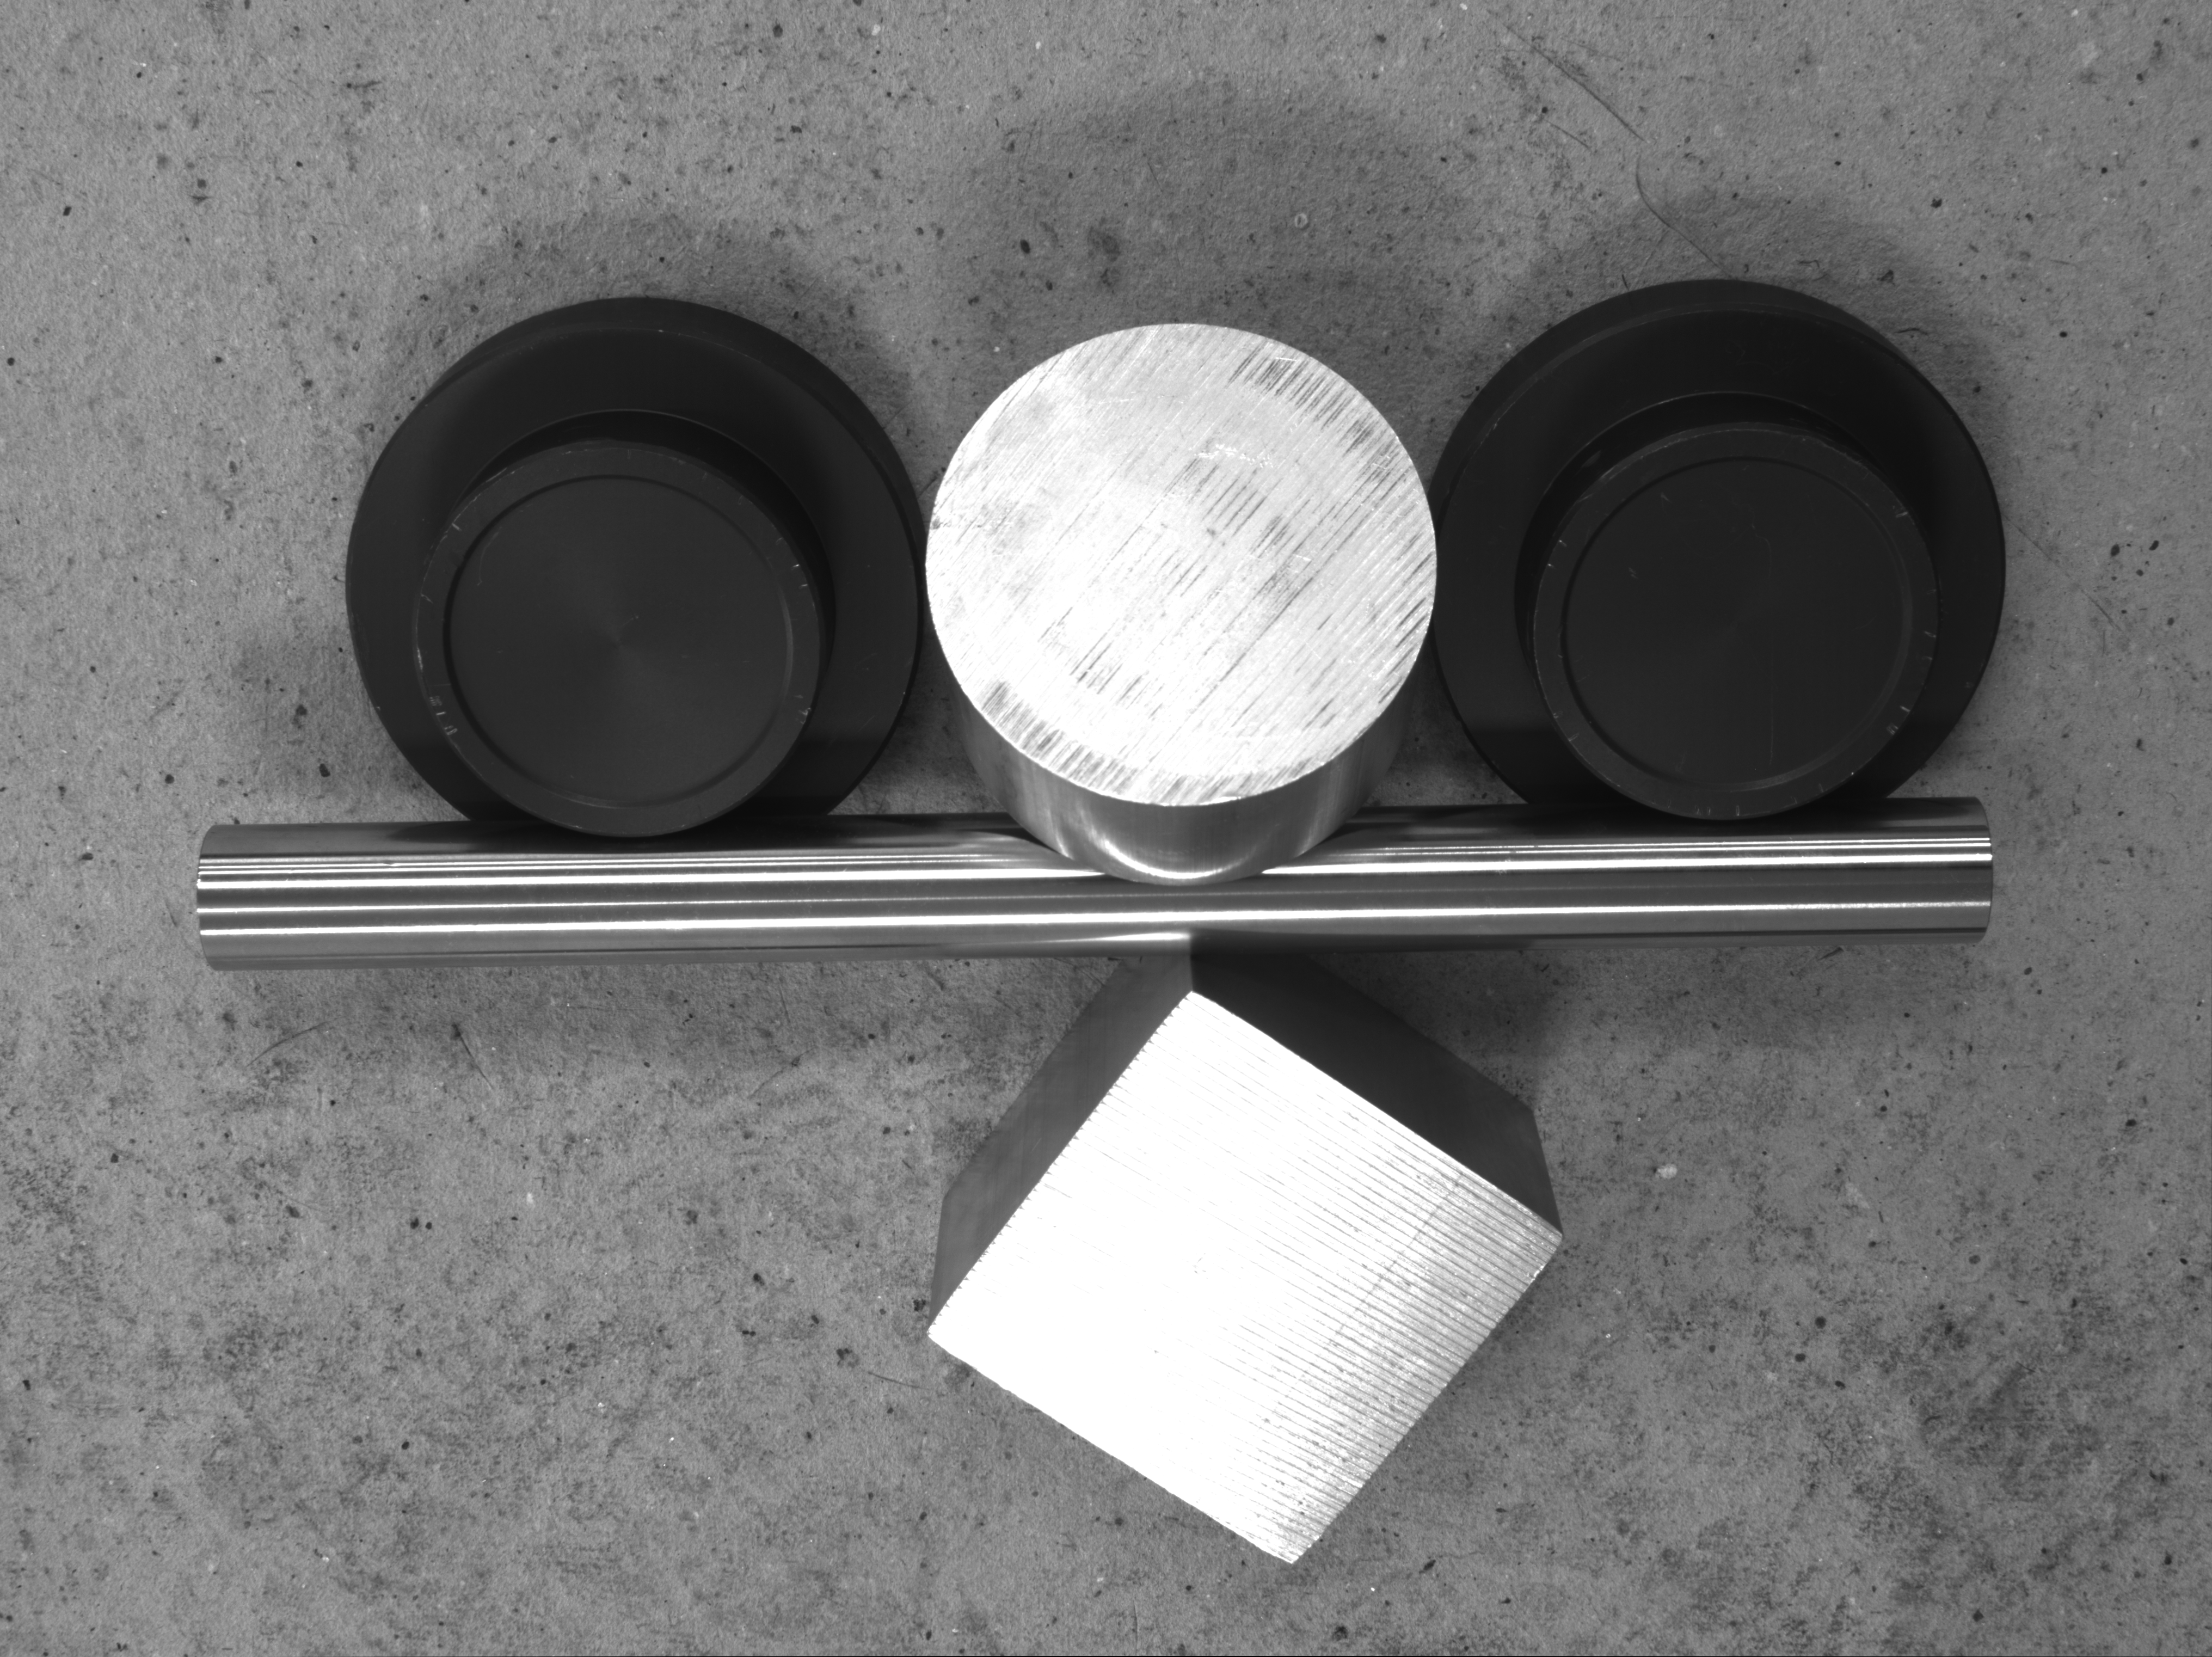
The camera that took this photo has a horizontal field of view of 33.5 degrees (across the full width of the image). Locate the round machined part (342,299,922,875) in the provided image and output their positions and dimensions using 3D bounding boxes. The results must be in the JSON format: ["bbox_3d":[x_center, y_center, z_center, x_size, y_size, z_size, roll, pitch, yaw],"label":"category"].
[{"bbox_3d":[-0.080,-0.037,0.621,0.098,0.042,0.098,0,110,0],"label":"round machined part"}]

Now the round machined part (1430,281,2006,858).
[{"bbox_3d":[0.103,-0.040,0.621,0.098,0.042,0.098,0,110,0],"label":"round machined part"}]

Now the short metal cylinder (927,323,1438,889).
[{"bbox_3d":[0.012,-0.035,0.598,0.080,0.050,0.080,0,74,1],"label":"short metal cylinder"}]

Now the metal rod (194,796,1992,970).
[{"bbox_3d":[-0.002,0.009,0.625,0.300,0.025,0.025,-1,110,0],"label":"metal rod"}]

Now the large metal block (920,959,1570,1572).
[{"bbox_3d":[0.024,0.071,0.654,0.080,0.050,0.080,33,107,-11],"label":"large metal block"}]
